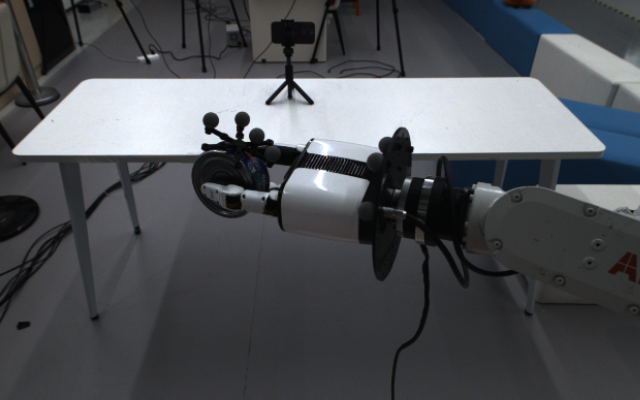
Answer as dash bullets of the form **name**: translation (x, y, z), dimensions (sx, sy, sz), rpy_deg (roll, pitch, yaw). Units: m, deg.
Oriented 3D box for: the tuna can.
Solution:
- **tuna can**: translation (-0.101, -0.023, 0.555), dimensions (0.085, 0.085, 0.034), rpy_deg (15, 31, 18)
